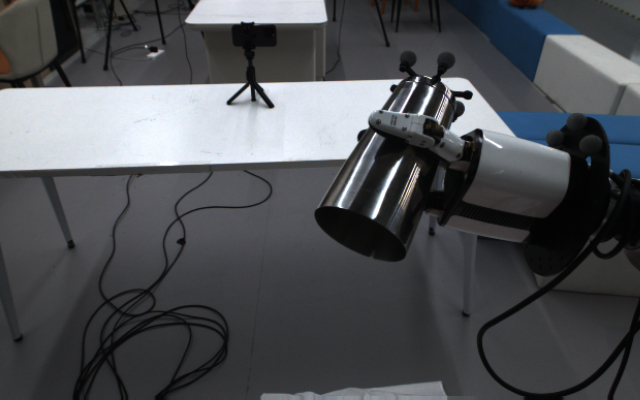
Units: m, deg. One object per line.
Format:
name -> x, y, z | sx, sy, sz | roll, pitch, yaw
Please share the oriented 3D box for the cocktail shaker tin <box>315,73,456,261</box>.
cocktail shaker tin -> 0.076, -0.039, 0.470 | 0.093, 0.093, 0.170 | 18, 66, 22
